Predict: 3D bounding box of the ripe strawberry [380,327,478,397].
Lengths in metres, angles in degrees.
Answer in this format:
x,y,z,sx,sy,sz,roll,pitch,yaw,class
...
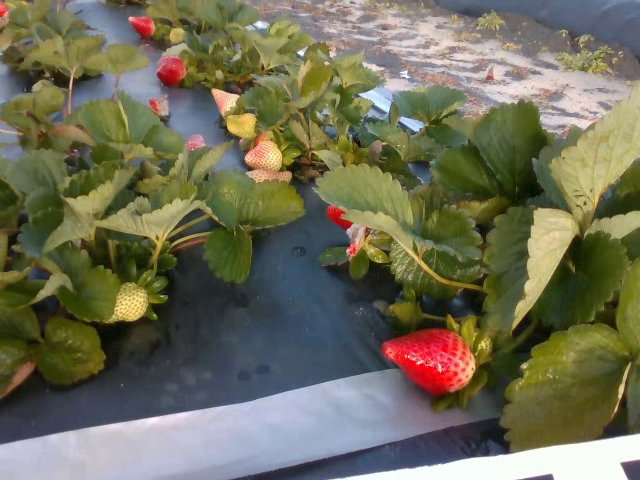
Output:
x,y,z,sx,sy,sz,roll,pitch,yaw,class
0.050,0.055,0.286,0.055,0.036,0.050,-1,36,-7,ripe strawberry
